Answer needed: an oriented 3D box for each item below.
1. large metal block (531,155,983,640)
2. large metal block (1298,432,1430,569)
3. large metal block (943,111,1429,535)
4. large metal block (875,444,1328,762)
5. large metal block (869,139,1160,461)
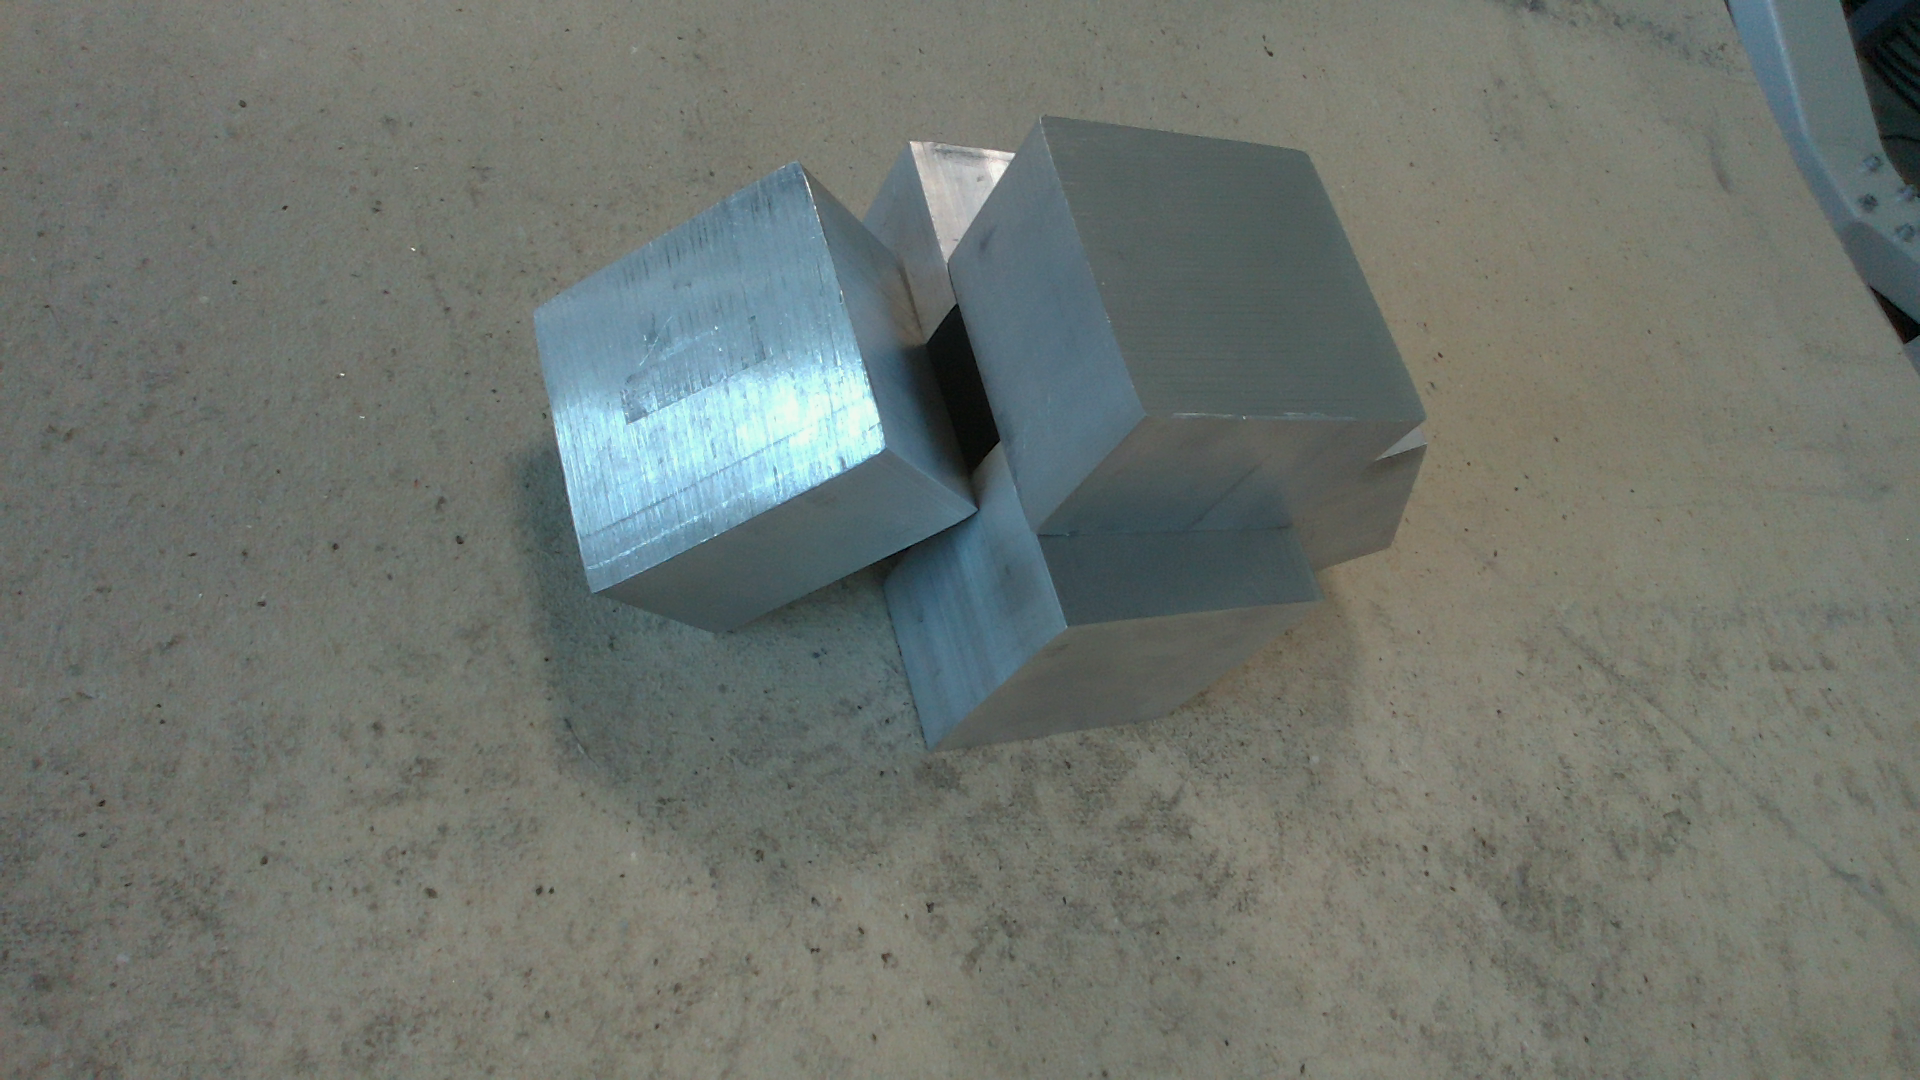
[{"bbox_3d":[-0.051,-0.032,0.338,0.050,0.080,0.080,34,35,-61],"label":"large metal block"},{"bbox_3d":[0.097,-0.039,0.421,0.050,0.080,0.080,-18,67,2],"label":"large metal block"},{"bbox_3d":[0.051,-0.049,0.329,0.080,0.050,0.080,-2,63,-29],"label":"large metal block"},{"bbox_3d":[0.034,0.016,0.365,0.080,0.080,0.050,-4,64,-29],"label":"large metal block"},{"bbox_3d":[0.011,-0.065,0.401,0.080,0.080,0.050,-2,62,-30],"label":"large metal block"}]
